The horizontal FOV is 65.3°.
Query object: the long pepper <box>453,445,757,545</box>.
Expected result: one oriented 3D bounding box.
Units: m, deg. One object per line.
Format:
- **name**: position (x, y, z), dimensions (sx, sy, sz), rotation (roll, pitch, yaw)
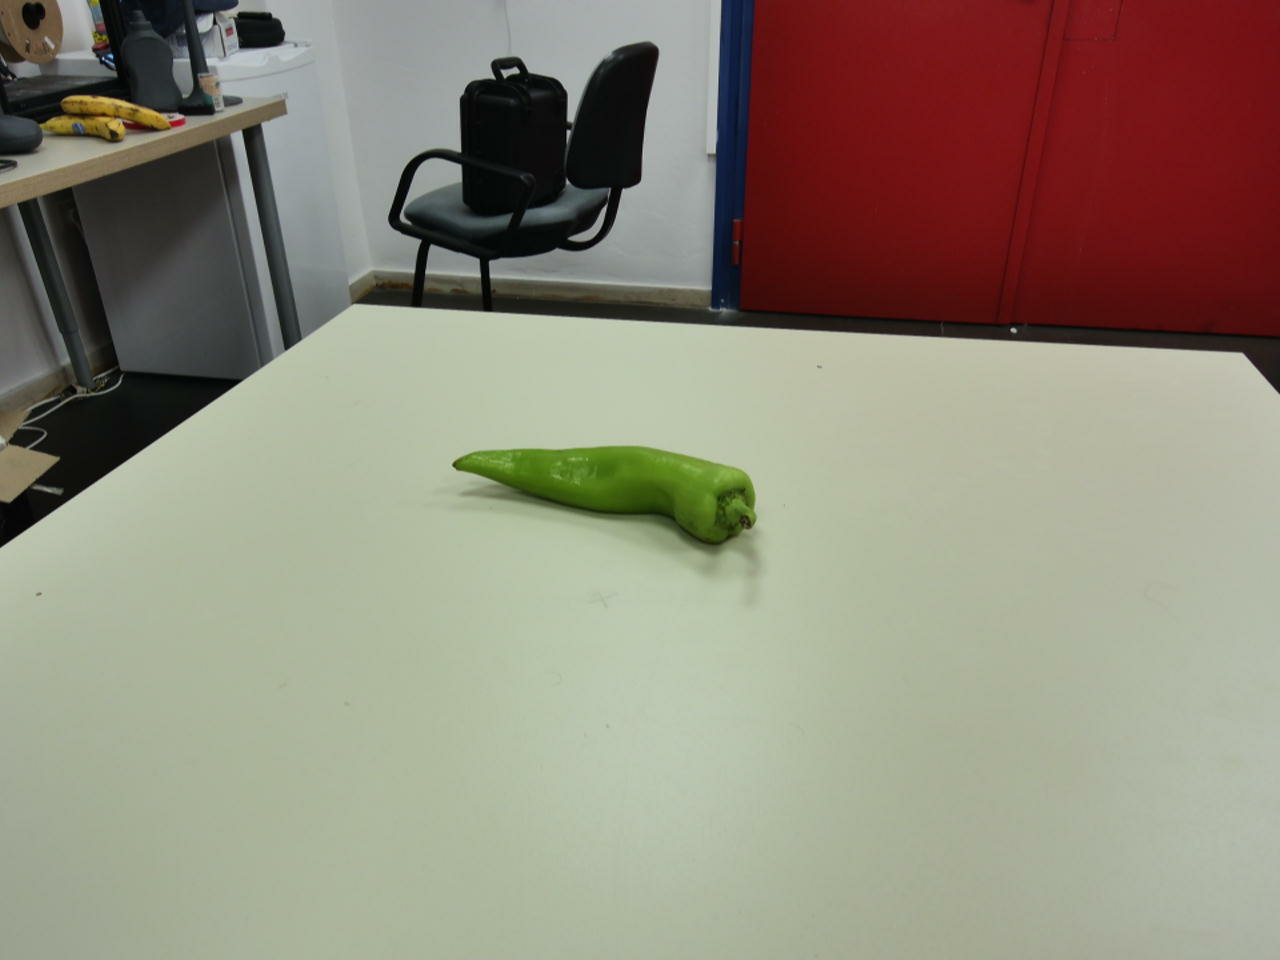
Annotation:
- **long pepper**: position (-0.014, 0.000, 0.612), dimensions (0.205, 0.045, 0.065), rotation (14, 29, 25)
